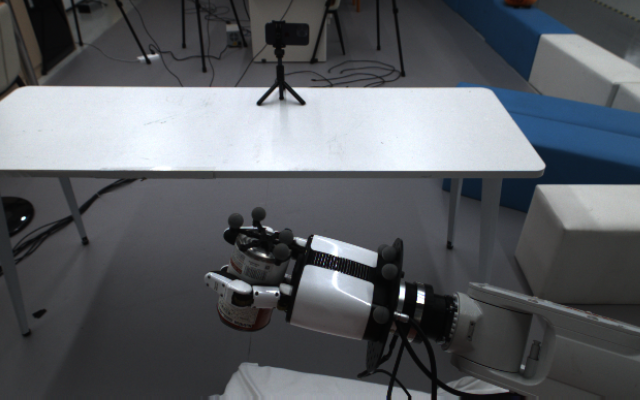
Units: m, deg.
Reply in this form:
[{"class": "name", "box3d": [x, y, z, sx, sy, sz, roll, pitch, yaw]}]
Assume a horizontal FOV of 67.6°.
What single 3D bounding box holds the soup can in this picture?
[{"class": "soup can", "box3d": [-0.076, 0.095, 0.570, 0.067, 0.101, 0.067, 17, 21, -7]}]
